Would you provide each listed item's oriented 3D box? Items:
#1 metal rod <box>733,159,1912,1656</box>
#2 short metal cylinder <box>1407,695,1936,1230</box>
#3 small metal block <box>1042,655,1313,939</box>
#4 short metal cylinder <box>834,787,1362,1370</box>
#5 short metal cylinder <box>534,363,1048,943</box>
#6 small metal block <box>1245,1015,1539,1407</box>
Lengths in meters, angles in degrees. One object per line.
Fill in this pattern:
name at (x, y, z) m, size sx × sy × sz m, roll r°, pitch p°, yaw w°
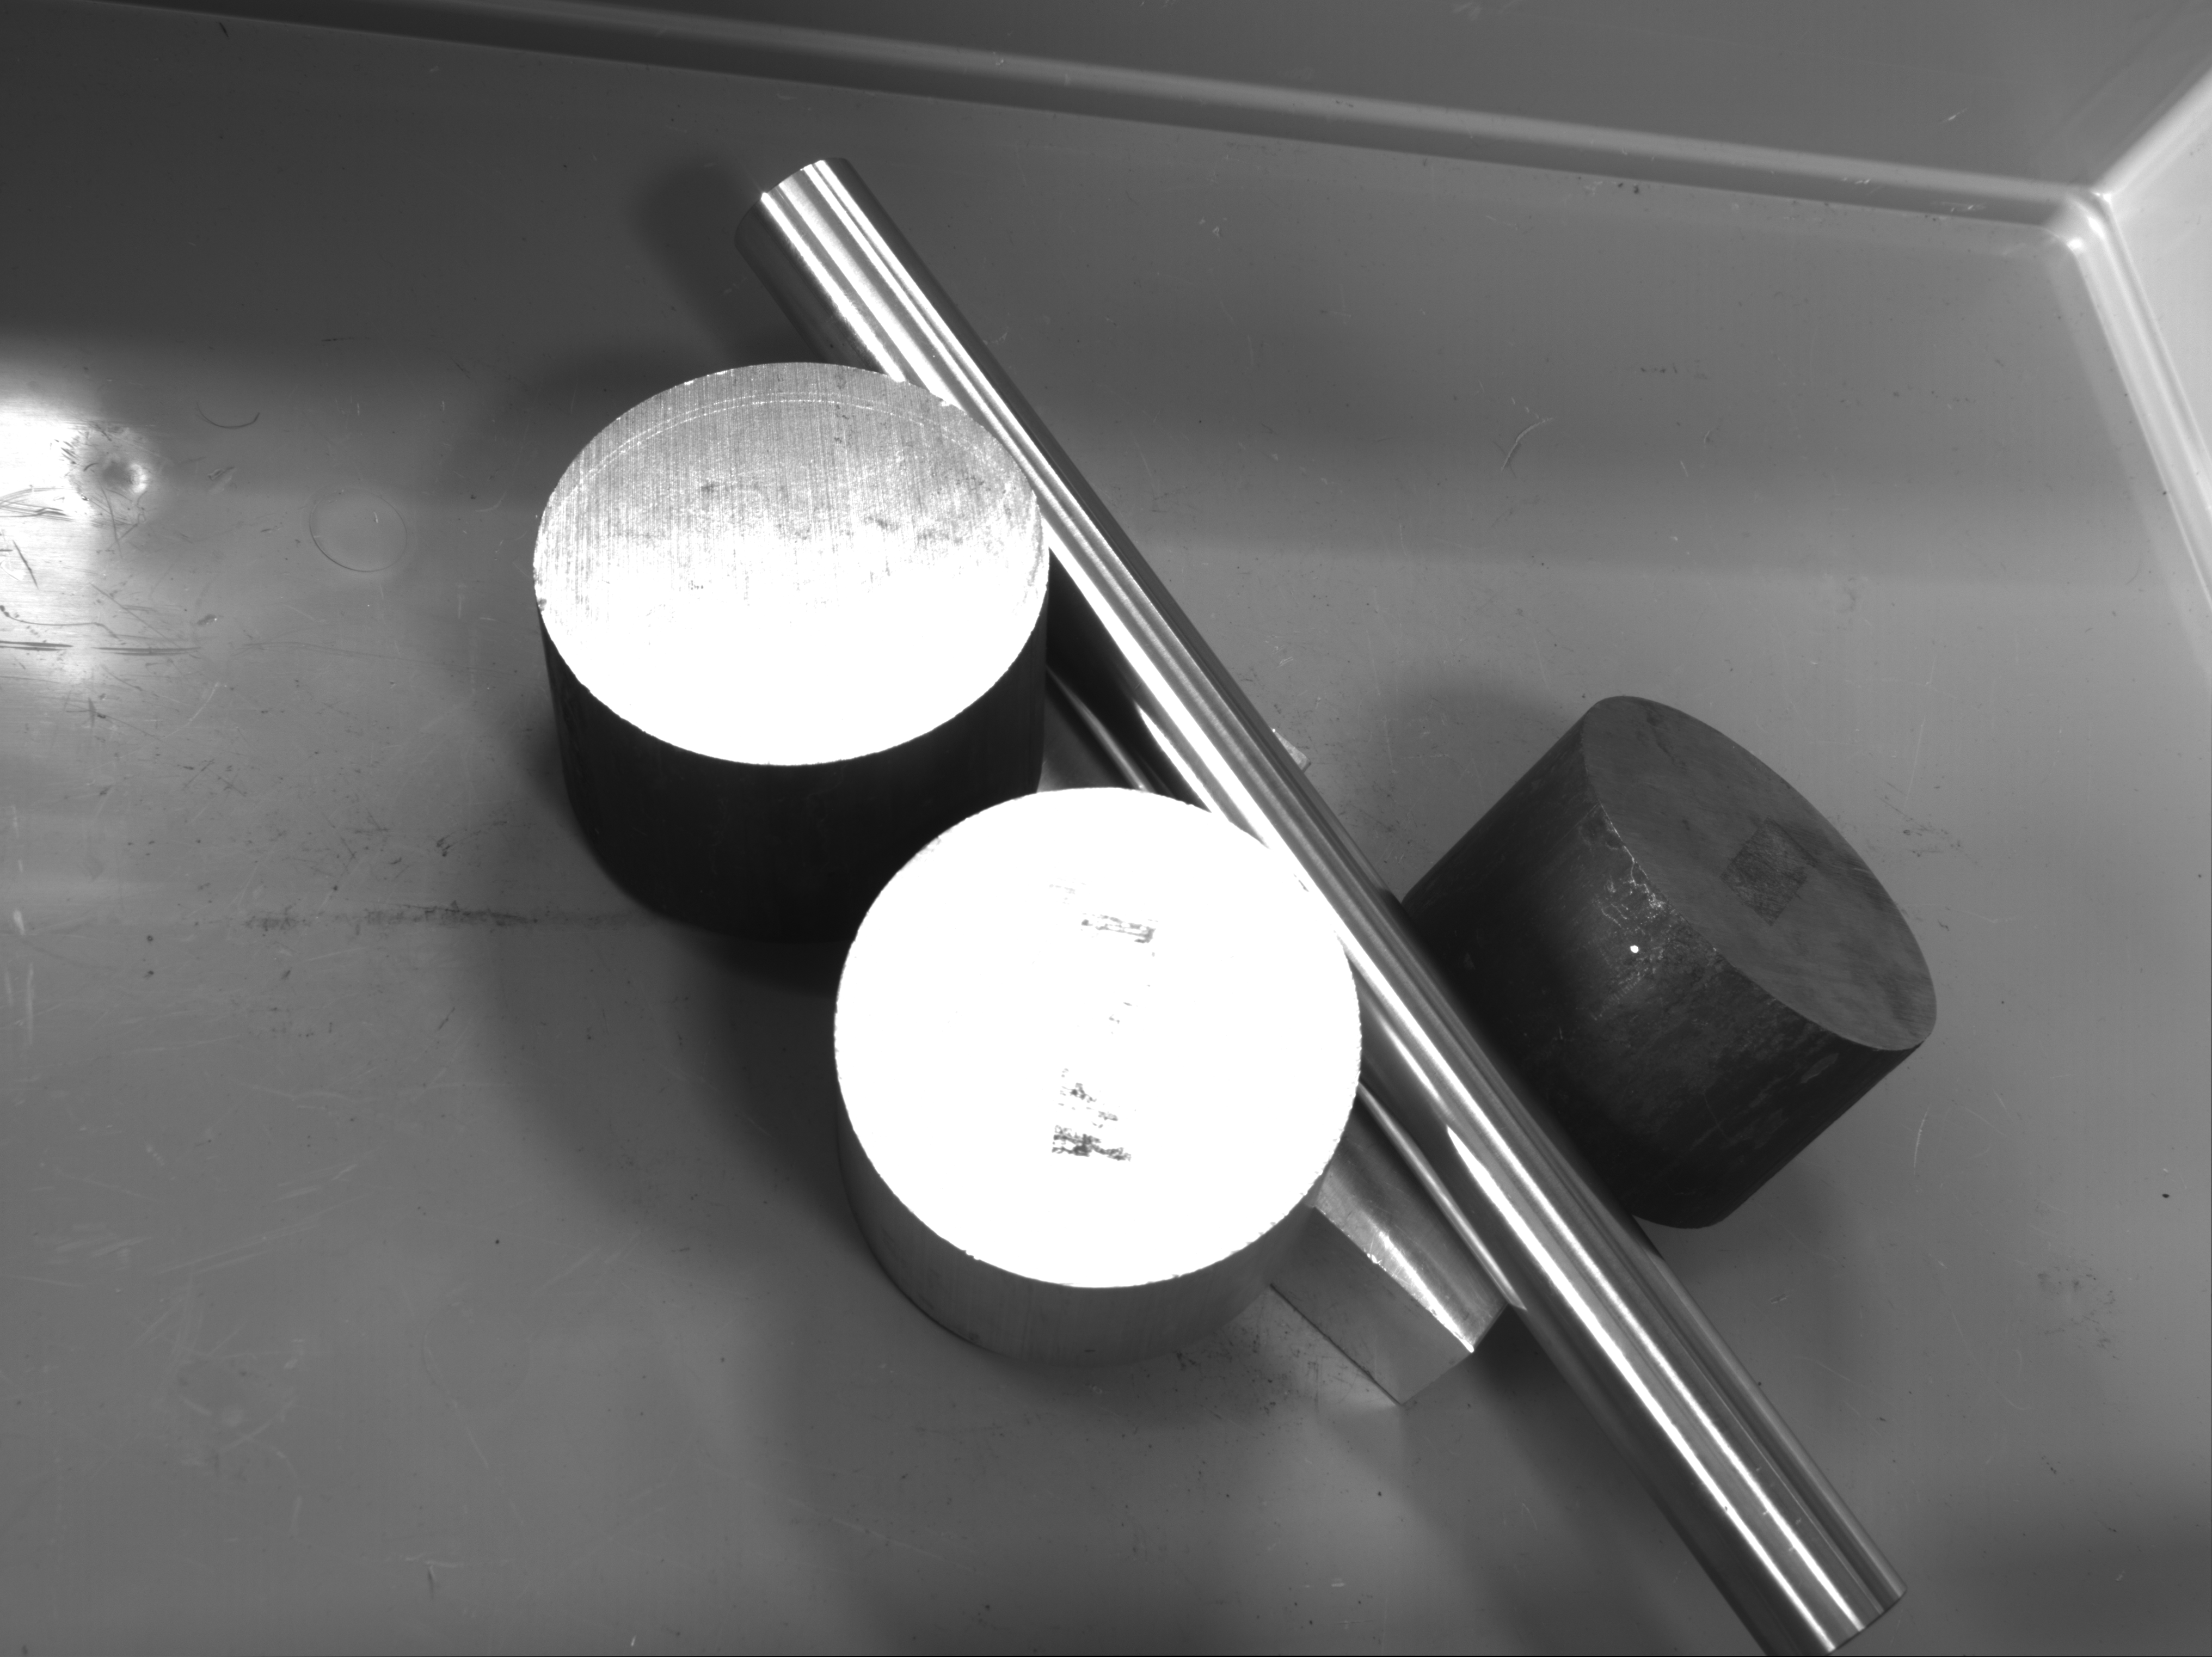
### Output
metal rod at (0.032, 0.010, 0.616) m, size 0.025 × 0.025 × 0.300 m, roll -28°, pitch 77°, yaw -37°
short metal cylinder at (0.098, 0.023, 0.644) m, size 0.080 × 0.050 × 0.080 m, roll 31°, pitch 29°, yaw -20°
small metal block at (0.000, -0.007, 0.642) m, size 0.050 × 0.025 × 0.050 m, roll 40°, pitch 51°, yaw -1°
short metal cylinder at (-0.002, 0.040, 0.579) m, size 0.080 × 0.050 × 0.080 m, roll 1°, pitch 68°, yaw -3°
short metal cylinder at (-0.050, -0.029, 0.595) m, size 0.080 × 0.050 × 0.080 m, roll 1°, pitch 56°, yaw -2°
small metal block at (0.050, 0.061, 0.628) m, size 0.050 × 0.025 × 0.050 m, roll 42°, pitch 51°, yaw 1°
